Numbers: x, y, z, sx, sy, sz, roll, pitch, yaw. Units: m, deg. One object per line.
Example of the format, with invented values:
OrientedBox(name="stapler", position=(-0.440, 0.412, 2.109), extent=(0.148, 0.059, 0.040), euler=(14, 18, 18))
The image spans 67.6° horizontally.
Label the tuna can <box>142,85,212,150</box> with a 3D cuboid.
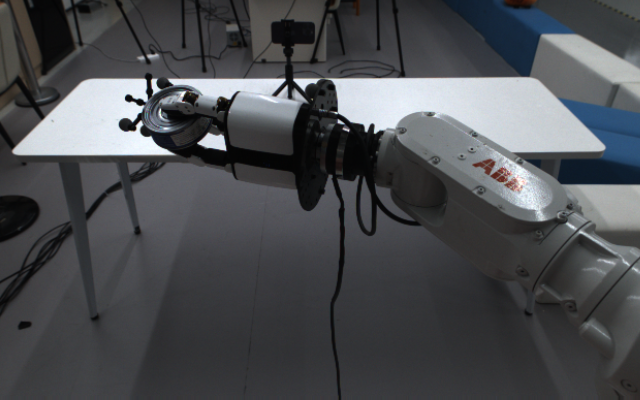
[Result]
OrientedBox(name="tuna can", position=(-0.186, -0.111, 0.635), extent=(0.085, 0.034, 0.085), euler=(-4, 60, 6))
